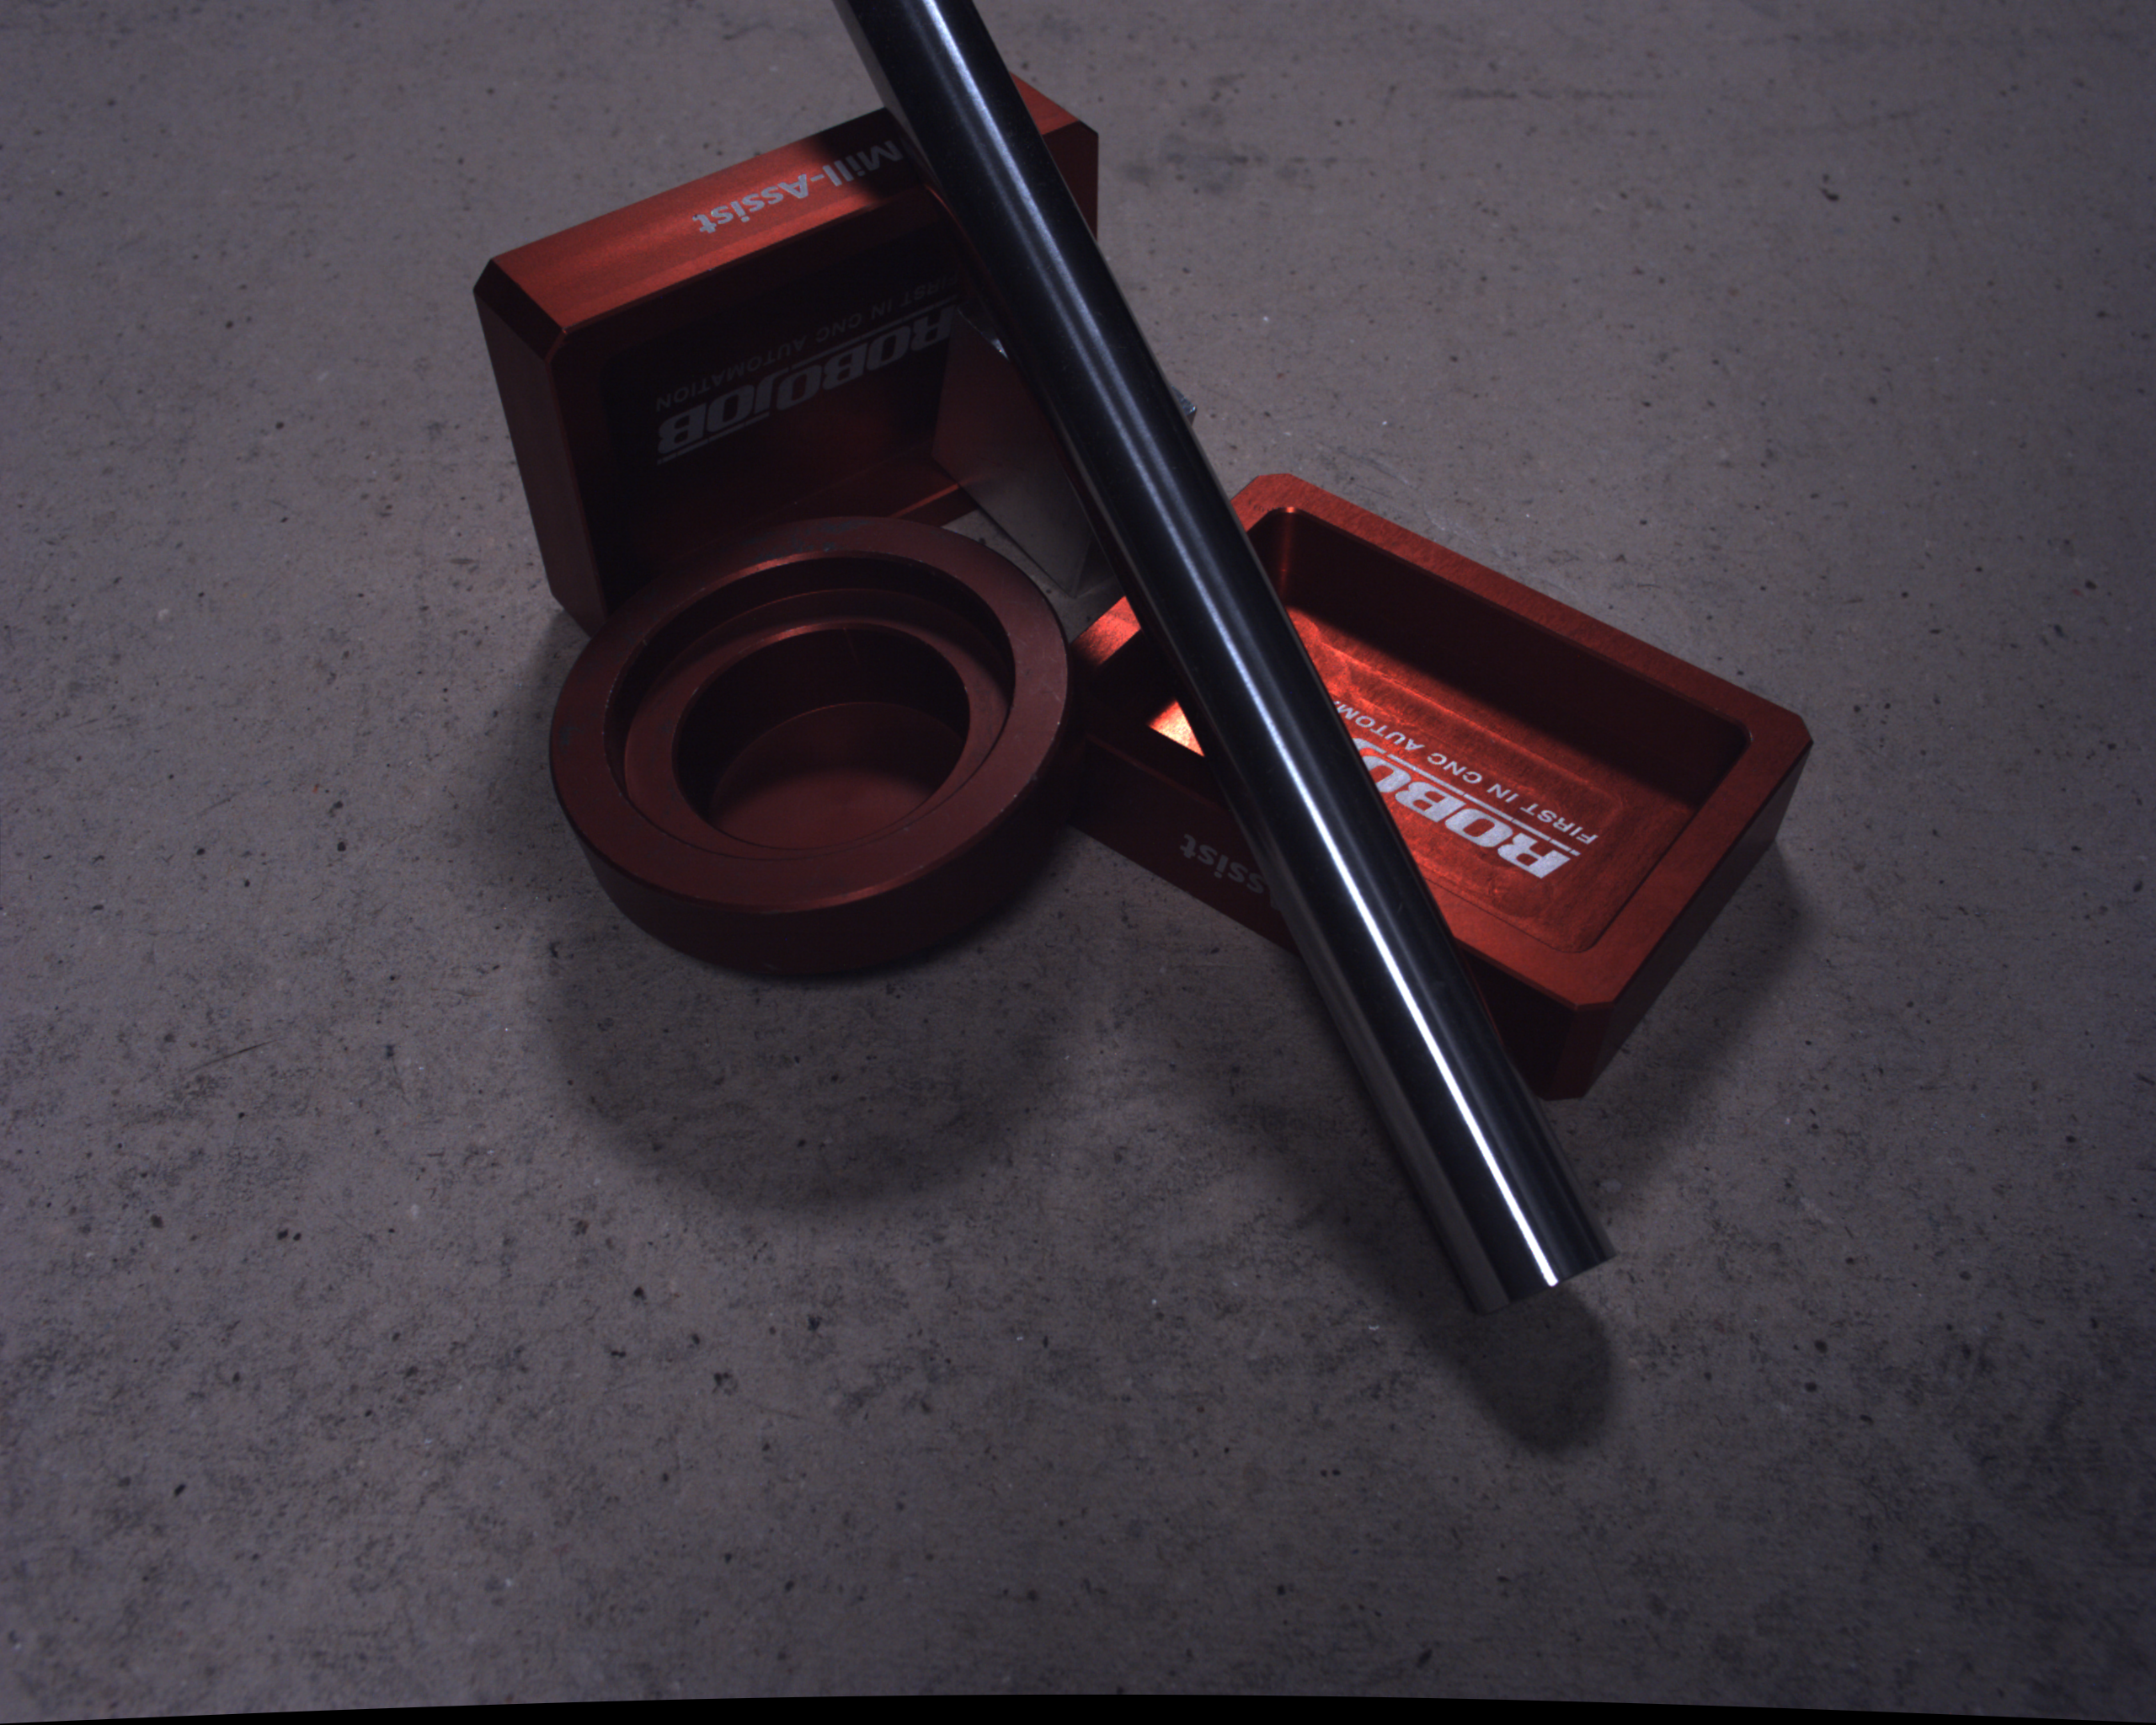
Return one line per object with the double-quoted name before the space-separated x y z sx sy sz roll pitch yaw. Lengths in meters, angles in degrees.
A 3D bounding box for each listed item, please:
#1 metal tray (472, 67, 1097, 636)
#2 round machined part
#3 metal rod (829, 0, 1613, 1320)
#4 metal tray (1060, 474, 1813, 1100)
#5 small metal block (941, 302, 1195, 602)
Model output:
"metal tray" -0.056 -0.107 0.451 0.131 0.089 0.030 -30 57 -23
"round machined part" -0.048 -0.018 0.403 0.099 0.042 0.098 -3 53 5
"metal rod" 0.017 -0.060 0.386 0.025 0.025 0.299 -21 75 -17
"metal tray" 0.066 -0.021 0.420 0.130 0.030 0.090 31 56 23
"small metal block" -0.005 -0.095 0.461 0.025 0.050 0.050 -37 74 -24
